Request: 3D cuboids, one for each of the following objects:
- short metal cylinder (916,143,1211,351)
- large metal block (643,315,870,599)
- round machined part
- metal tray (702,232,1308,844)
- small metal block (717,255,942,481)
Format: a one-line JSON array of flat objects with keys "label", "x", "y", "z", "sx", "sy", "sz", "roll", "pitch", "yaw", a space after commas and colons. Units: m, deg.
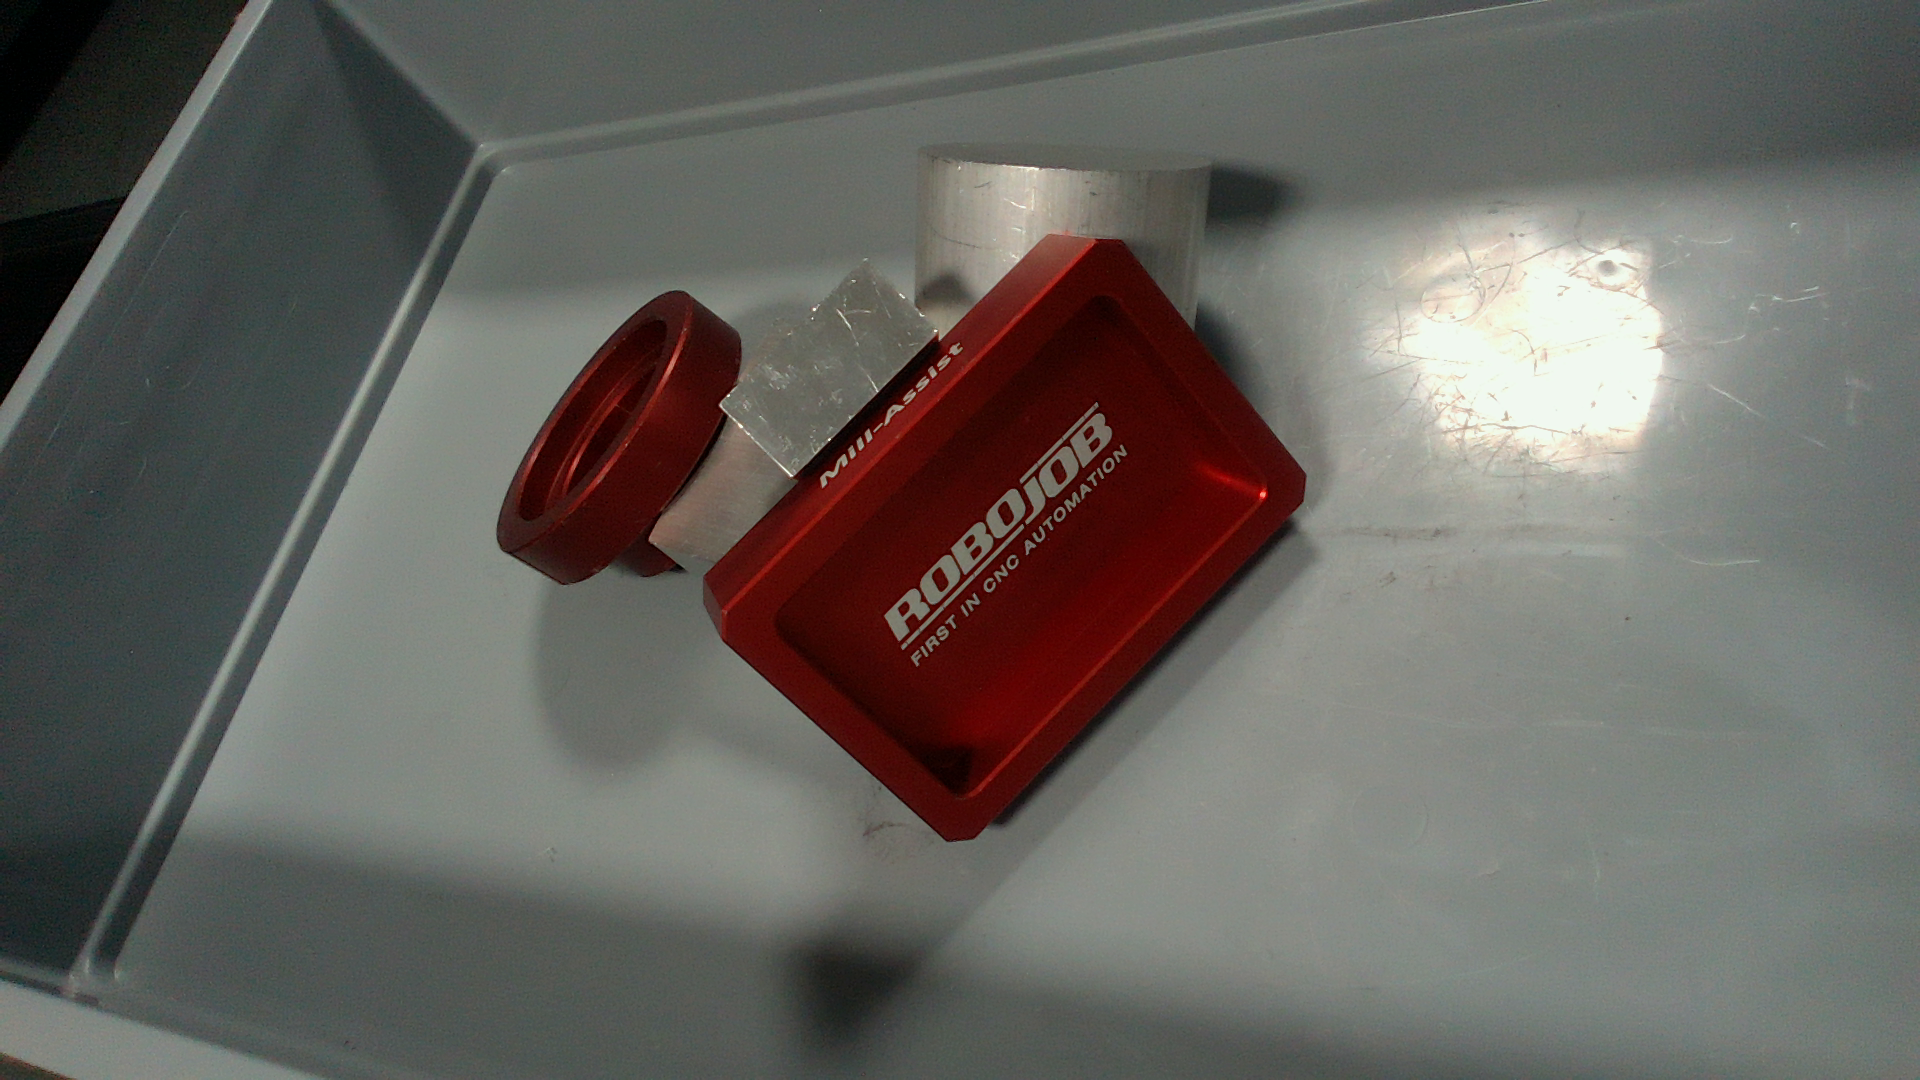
[{"label": "short metal cylinder", "x": 0.027, "y": -0.082, "z": 0.385, "sx": 0.080, "sy": 0.080, "sz": 0.050, "roll": 17, "pitch": 115, "yaw": 35}, {"label": "large metal block", "x": -0.031, "y": -0.013, "z": 0.401, "sx": 0.080, "sy": 0.050, "sz": 0.080, "roll": 15, "pitch": 70, "yaw": 35}, {"label": "round machined part", "x": -0.100, "y": -0.028, "z": 0.438, "sx": 0.098, "sy": 0.042, "sz": 0.098, "roll": -36, "pitch": 34, "yaw": 29}, {"label": "metal tray", "x": 0.013, "y": -0.001, "z": 0.342, "sx": 0.130, "sy": 0.090, "sz": 0.030, "roll": -45, "pitch": 23, "yaw": -4}, {"label": "small metal block", "x": -0.031, "y": -0.040, "z": 0.351, "sx": 0.025, "sy": 0.050, "sz": 0.050, "roll": 45, "pitch": 88, "yaw": 1}]
